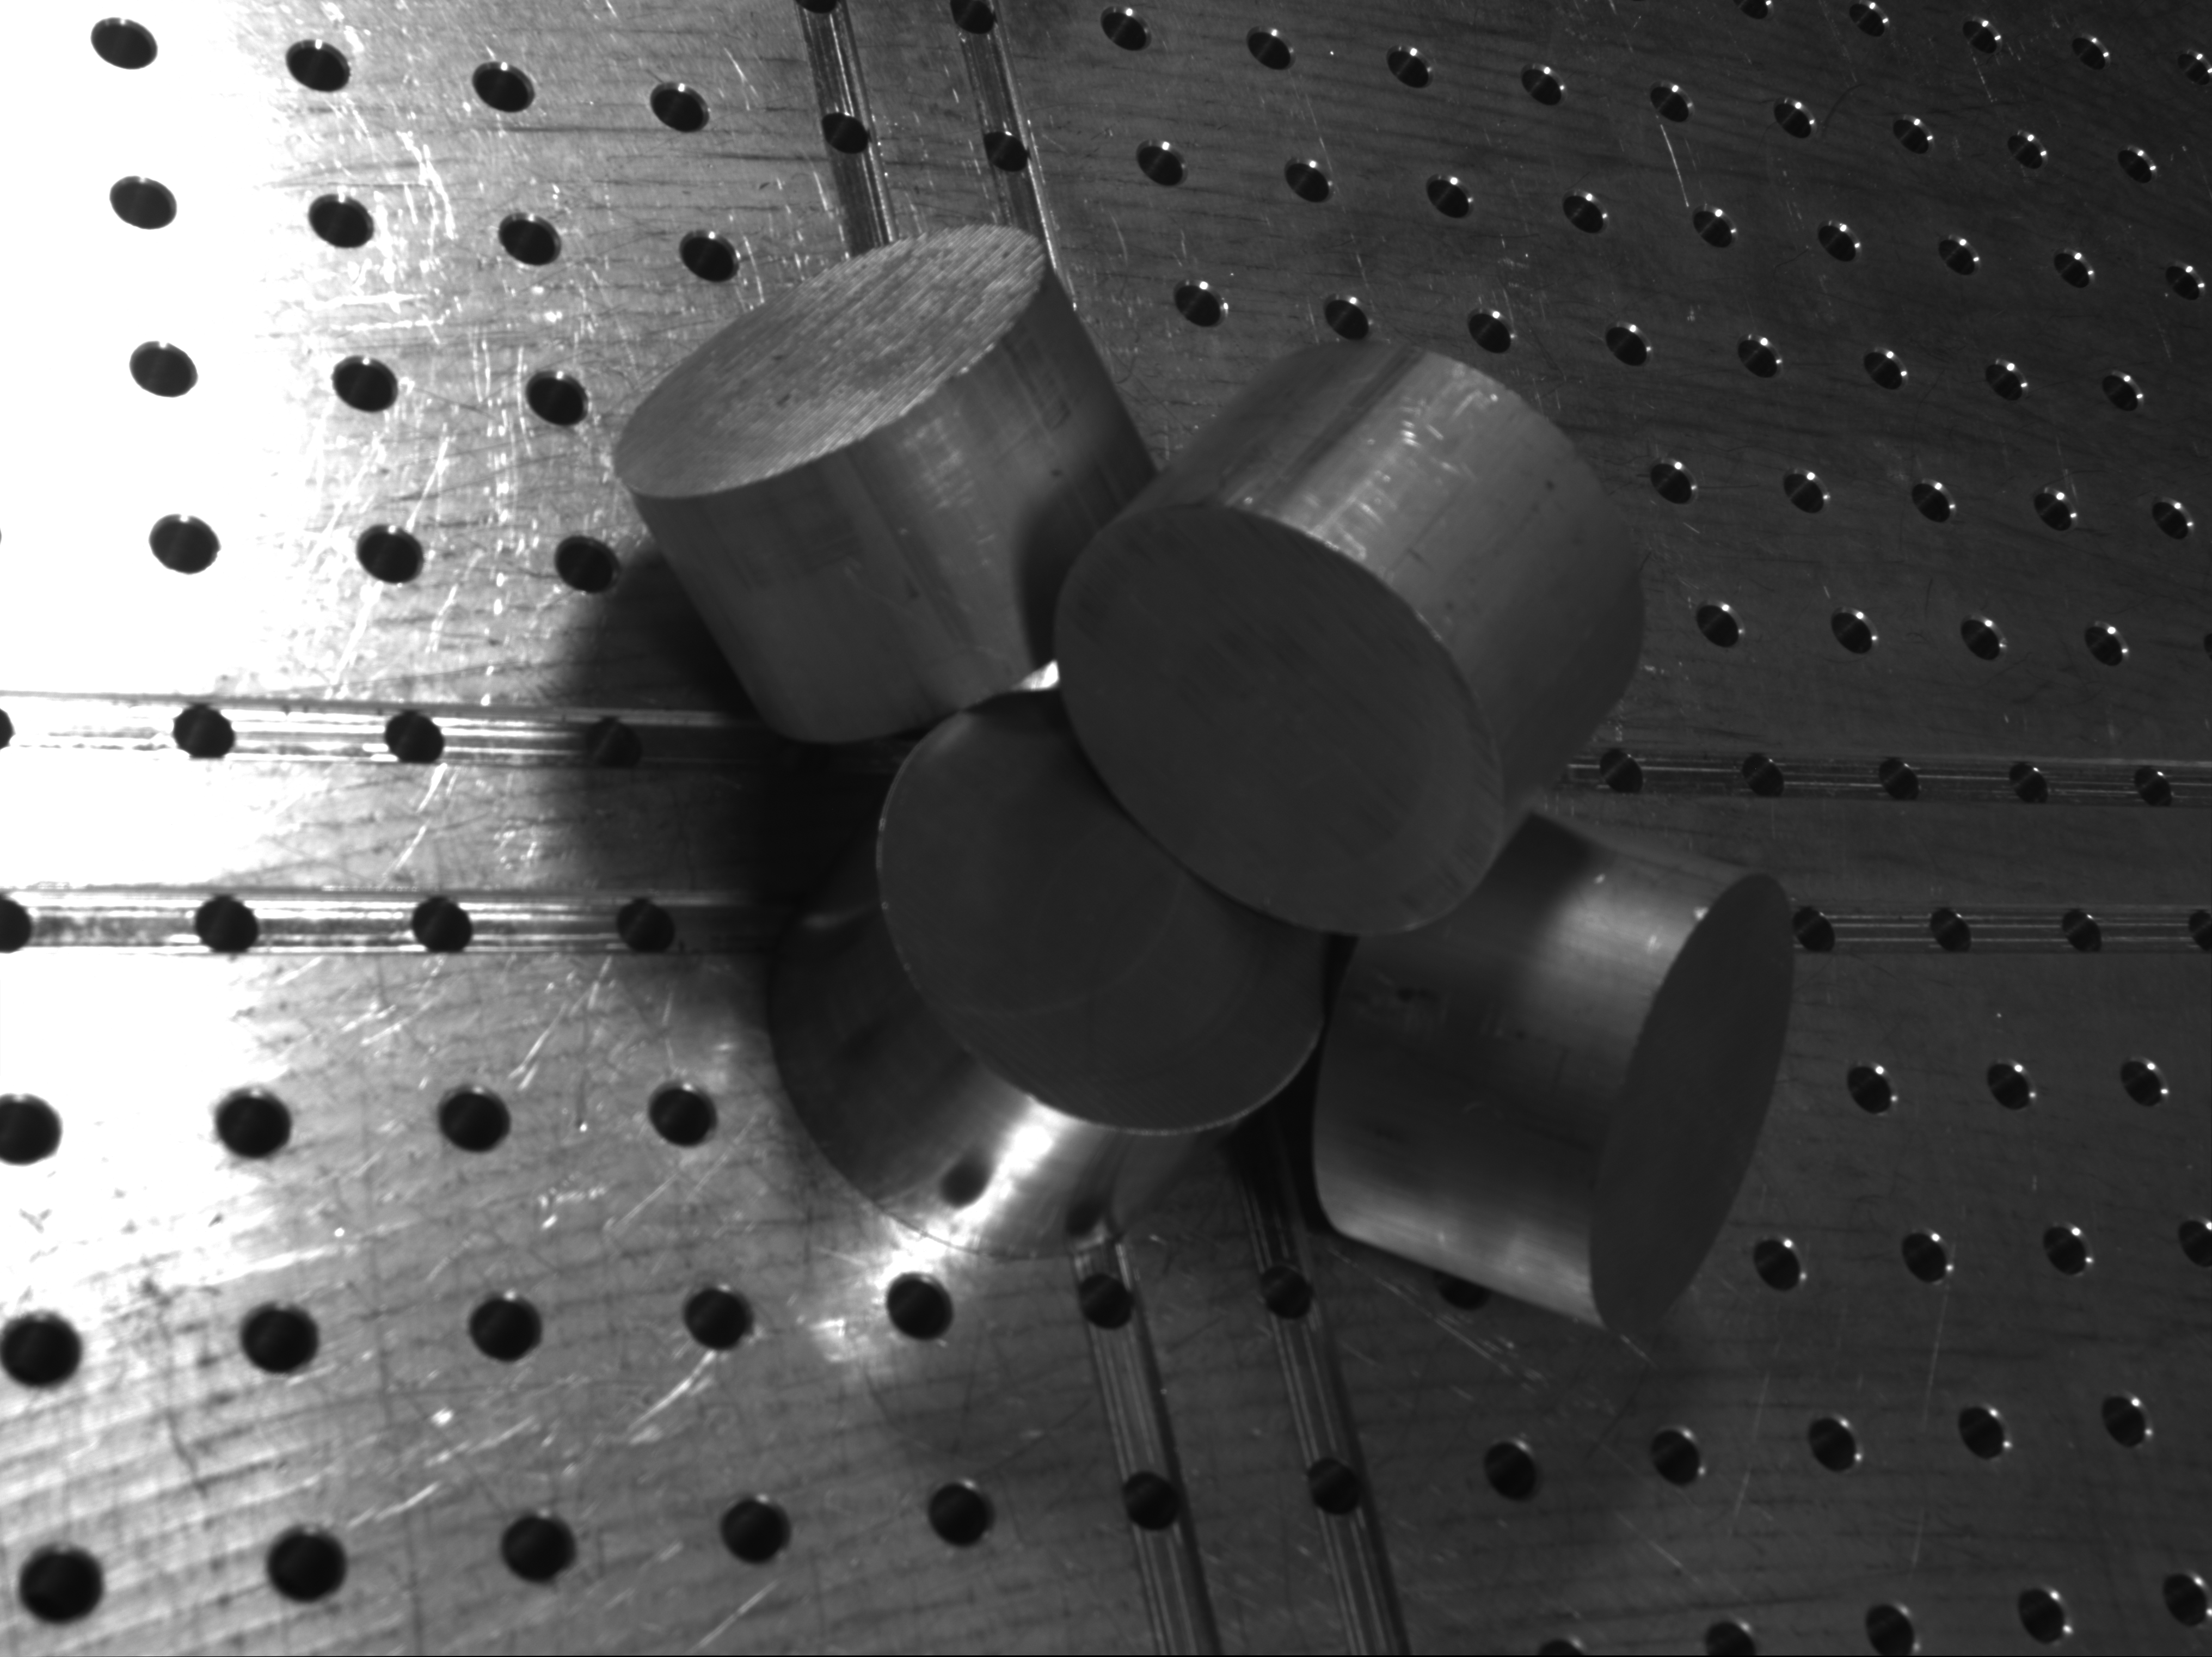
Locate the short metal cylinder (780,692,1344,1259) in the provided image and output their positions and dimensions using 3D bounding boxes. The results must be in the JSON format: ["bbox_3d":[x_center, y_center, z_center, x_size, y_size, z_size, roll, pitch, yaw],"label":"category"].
[{"bbox_3d":[-0.008,0.025,0.607,0.080,0.050,0.080,14,56,-21],"label":"short metal cylinder"}]

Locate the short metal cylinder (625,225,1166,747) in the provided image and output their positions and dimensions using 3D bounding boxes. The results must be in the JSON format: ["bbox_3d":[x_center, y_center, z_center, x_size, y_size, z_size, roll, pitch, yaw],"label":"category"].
[{"bbox_3d":[-0.033,-0.058,0.616,0.080,0.080,0.050,-55,128,-39],"label":"short metal cylinder"}]

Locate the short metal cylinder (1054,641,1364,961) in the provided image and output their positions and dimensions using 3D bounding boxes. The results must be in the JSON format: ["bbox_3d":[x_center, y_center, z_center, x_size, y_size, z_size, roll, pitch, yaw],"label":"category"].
[{"bbox_3d":[0.036,-0.021,0.658,0.080,0.050,0.080,14,56,-21],"label":"short metal cylinder"}]

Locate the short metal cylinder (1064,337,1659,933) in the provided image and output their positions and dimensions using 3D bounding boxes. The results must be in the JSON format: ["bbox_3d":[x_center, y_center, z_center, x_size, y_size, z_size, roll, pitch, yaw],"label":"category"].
[{"bbox_3d":[0.041,-0.031,0.582,0.080,0.080,0.050,42,51,0],"label":"short metal cylinder"}]

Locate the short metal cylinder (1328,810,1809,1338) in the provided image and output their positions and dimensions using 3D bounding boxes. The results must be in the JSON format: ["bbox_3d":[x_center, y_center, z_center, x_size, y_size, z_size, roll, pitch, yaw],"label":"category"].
[{"bbox_3d":[0.079,0.039,0.616,0.050,0.080,0.080,18,45,28],"label":"short metal cylinder"}]
